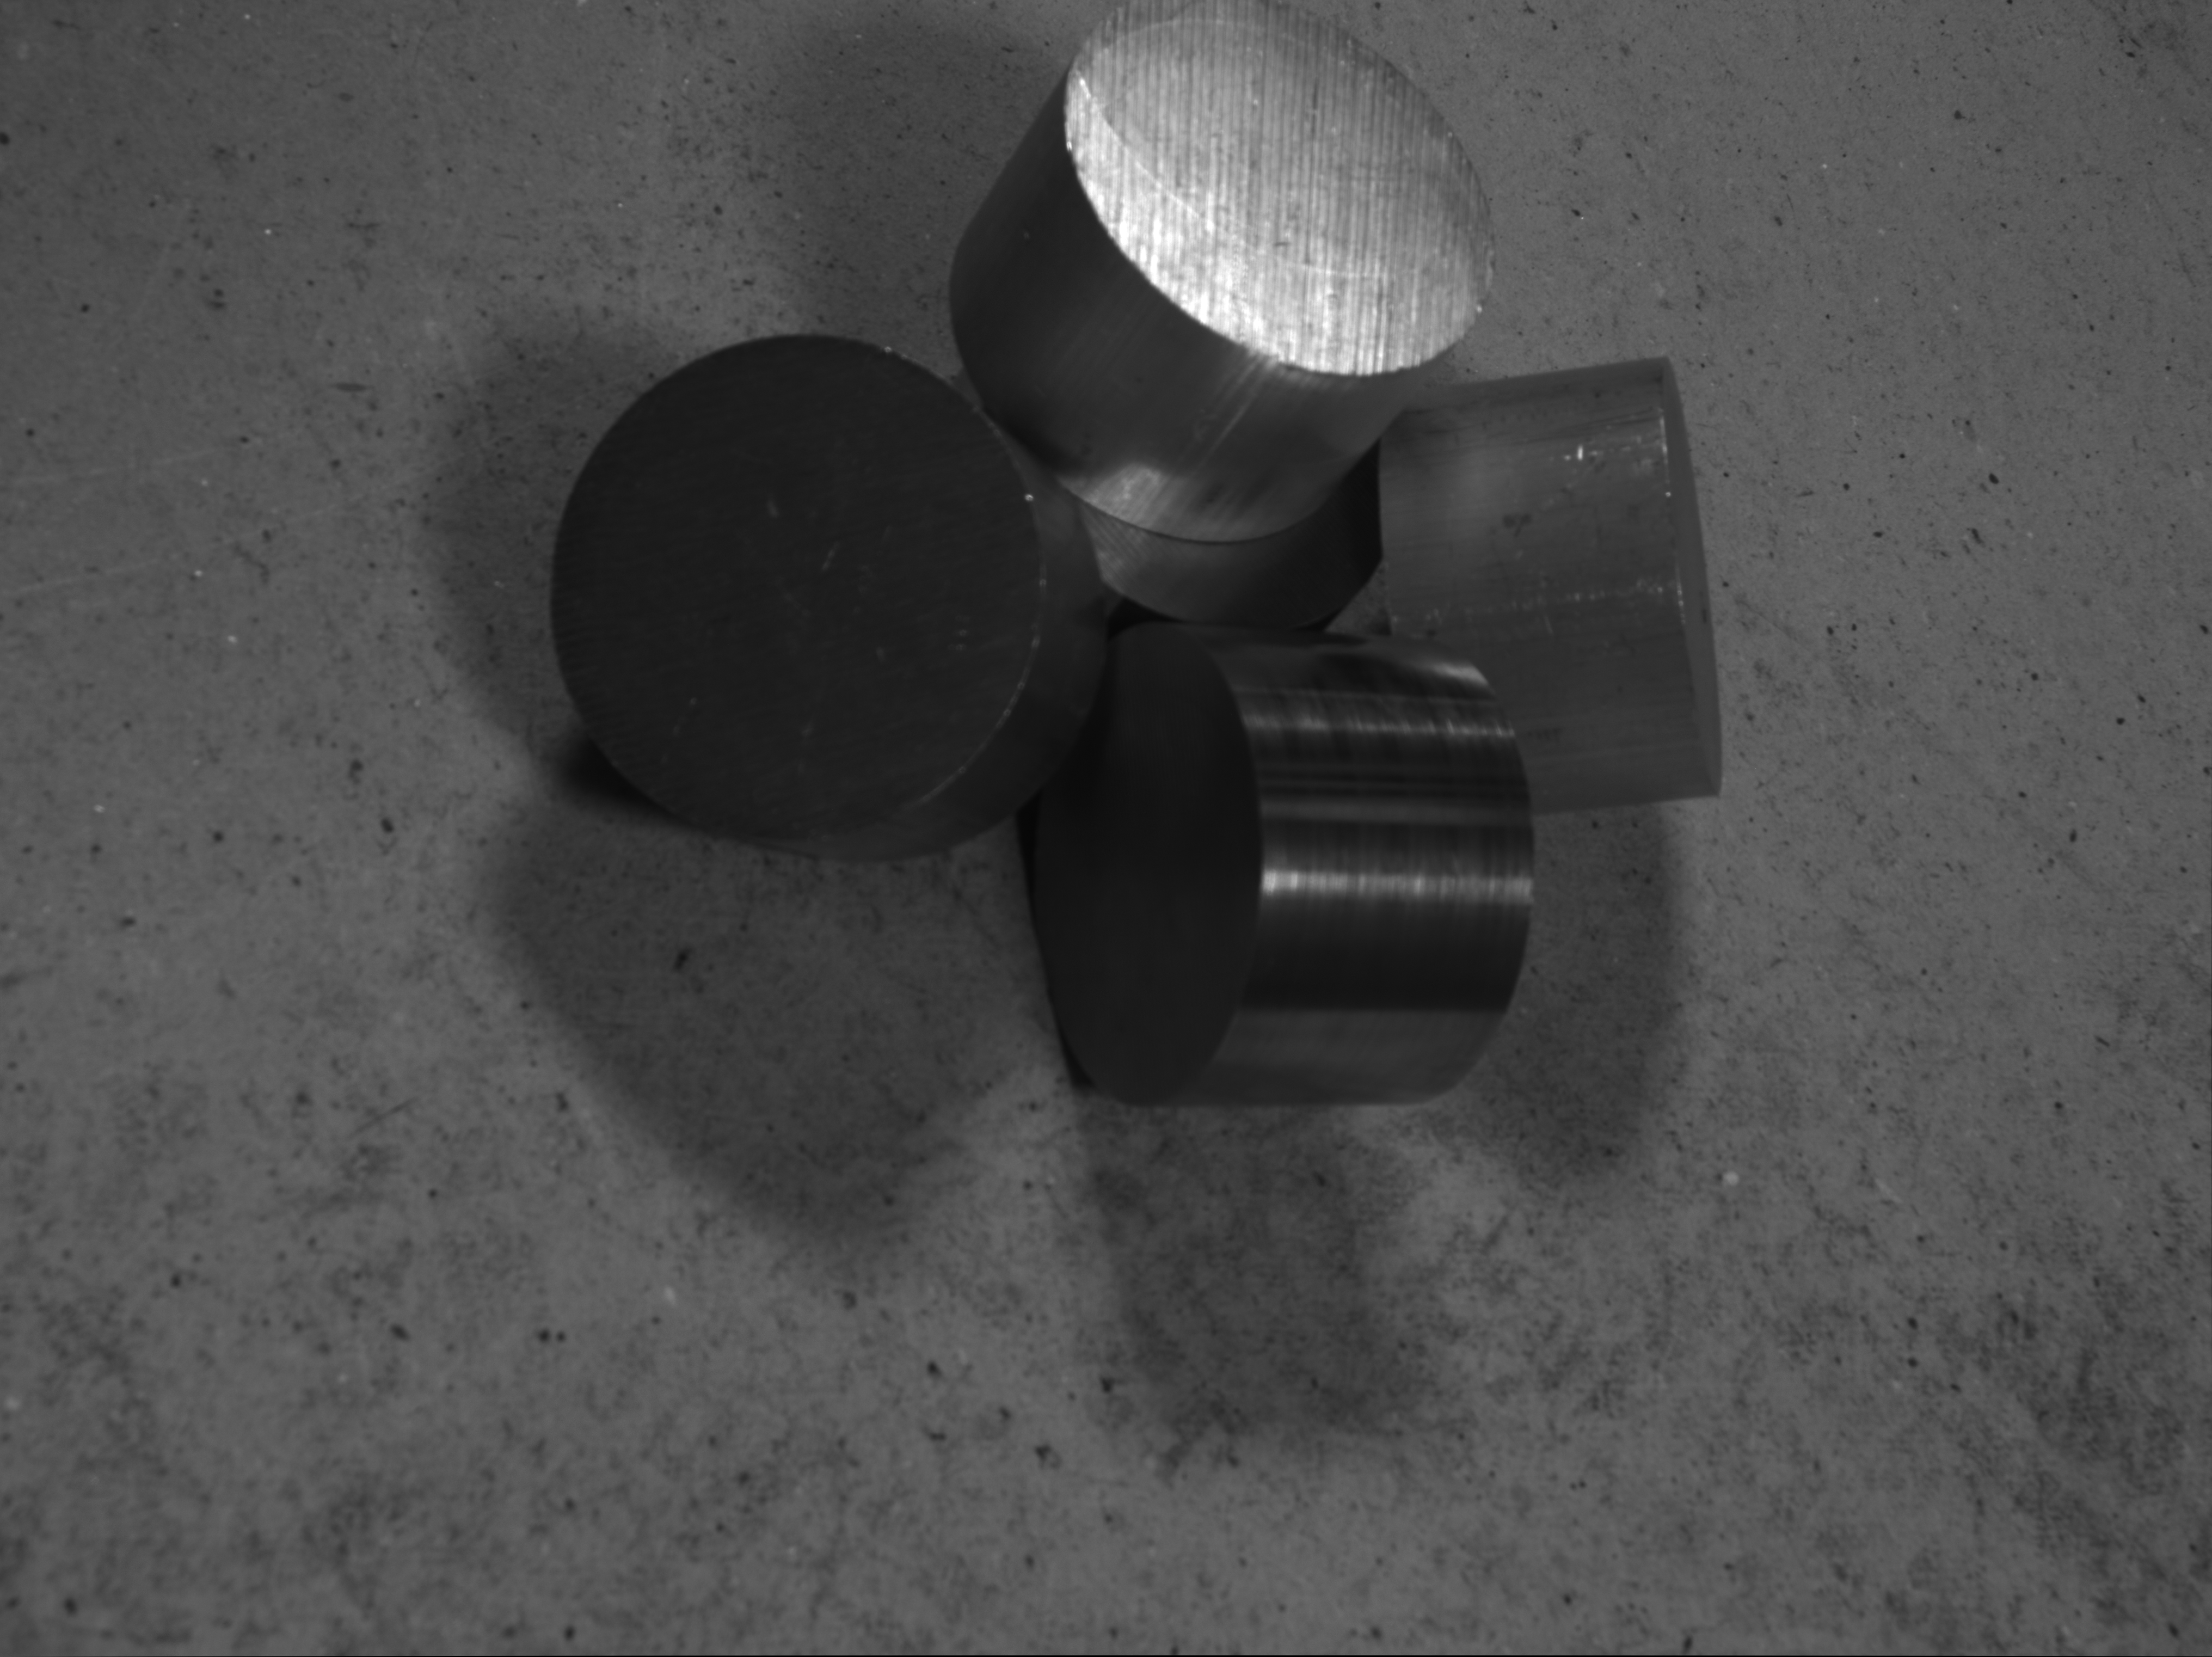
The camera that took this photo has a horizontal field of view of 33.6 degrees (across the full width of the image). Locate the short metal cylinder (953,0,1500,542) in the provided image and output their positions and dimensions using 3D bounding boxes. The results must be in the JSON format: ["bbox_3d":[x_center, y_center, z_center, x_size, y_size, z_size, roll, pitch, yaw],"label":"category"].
[{"bbox_3d":[0.020,-0.097,0.629,0.080,0.050,0.080,14,56,-21],"label":"short metal cylinder"}]

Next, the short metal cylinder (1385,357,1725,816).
[{"bbox_3d":[0.083,-0.042,0.668,0.050,0.080,0.080,-7,57,13],"label":"short metal cylinder"}]

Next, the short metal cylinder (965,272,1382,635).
[{"bbox_3d":[0.006,-0.056,0.662,0.080,0.050,0.080,14,56,-21],"label":"short metal cylinder"}]

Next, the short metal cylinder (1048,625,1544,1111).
[{"bbox_3d":[0.030,0.007,0.615,0.050,0.080,0.080,2,61,-27],"label":"short metal cylinder"}]

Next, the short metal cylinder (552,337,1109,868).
[{"bbox_3d":[-0.044,-0.035,0.596,0.080,0.050,0.080,-1,85,11],"label":"short metal cylinder"}]
